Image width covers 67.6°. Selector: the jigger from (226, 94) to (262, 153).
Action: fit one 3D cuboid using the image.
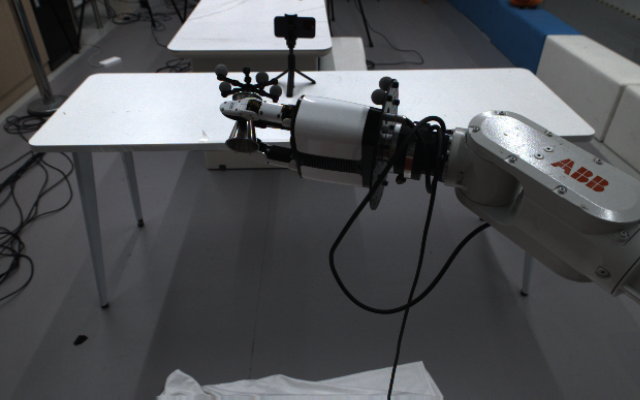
[{"bbox_3d":[-0.099,-0.102,0.629,0.043,0.043,0.071,3,72,1],"label":"jigger"}]
